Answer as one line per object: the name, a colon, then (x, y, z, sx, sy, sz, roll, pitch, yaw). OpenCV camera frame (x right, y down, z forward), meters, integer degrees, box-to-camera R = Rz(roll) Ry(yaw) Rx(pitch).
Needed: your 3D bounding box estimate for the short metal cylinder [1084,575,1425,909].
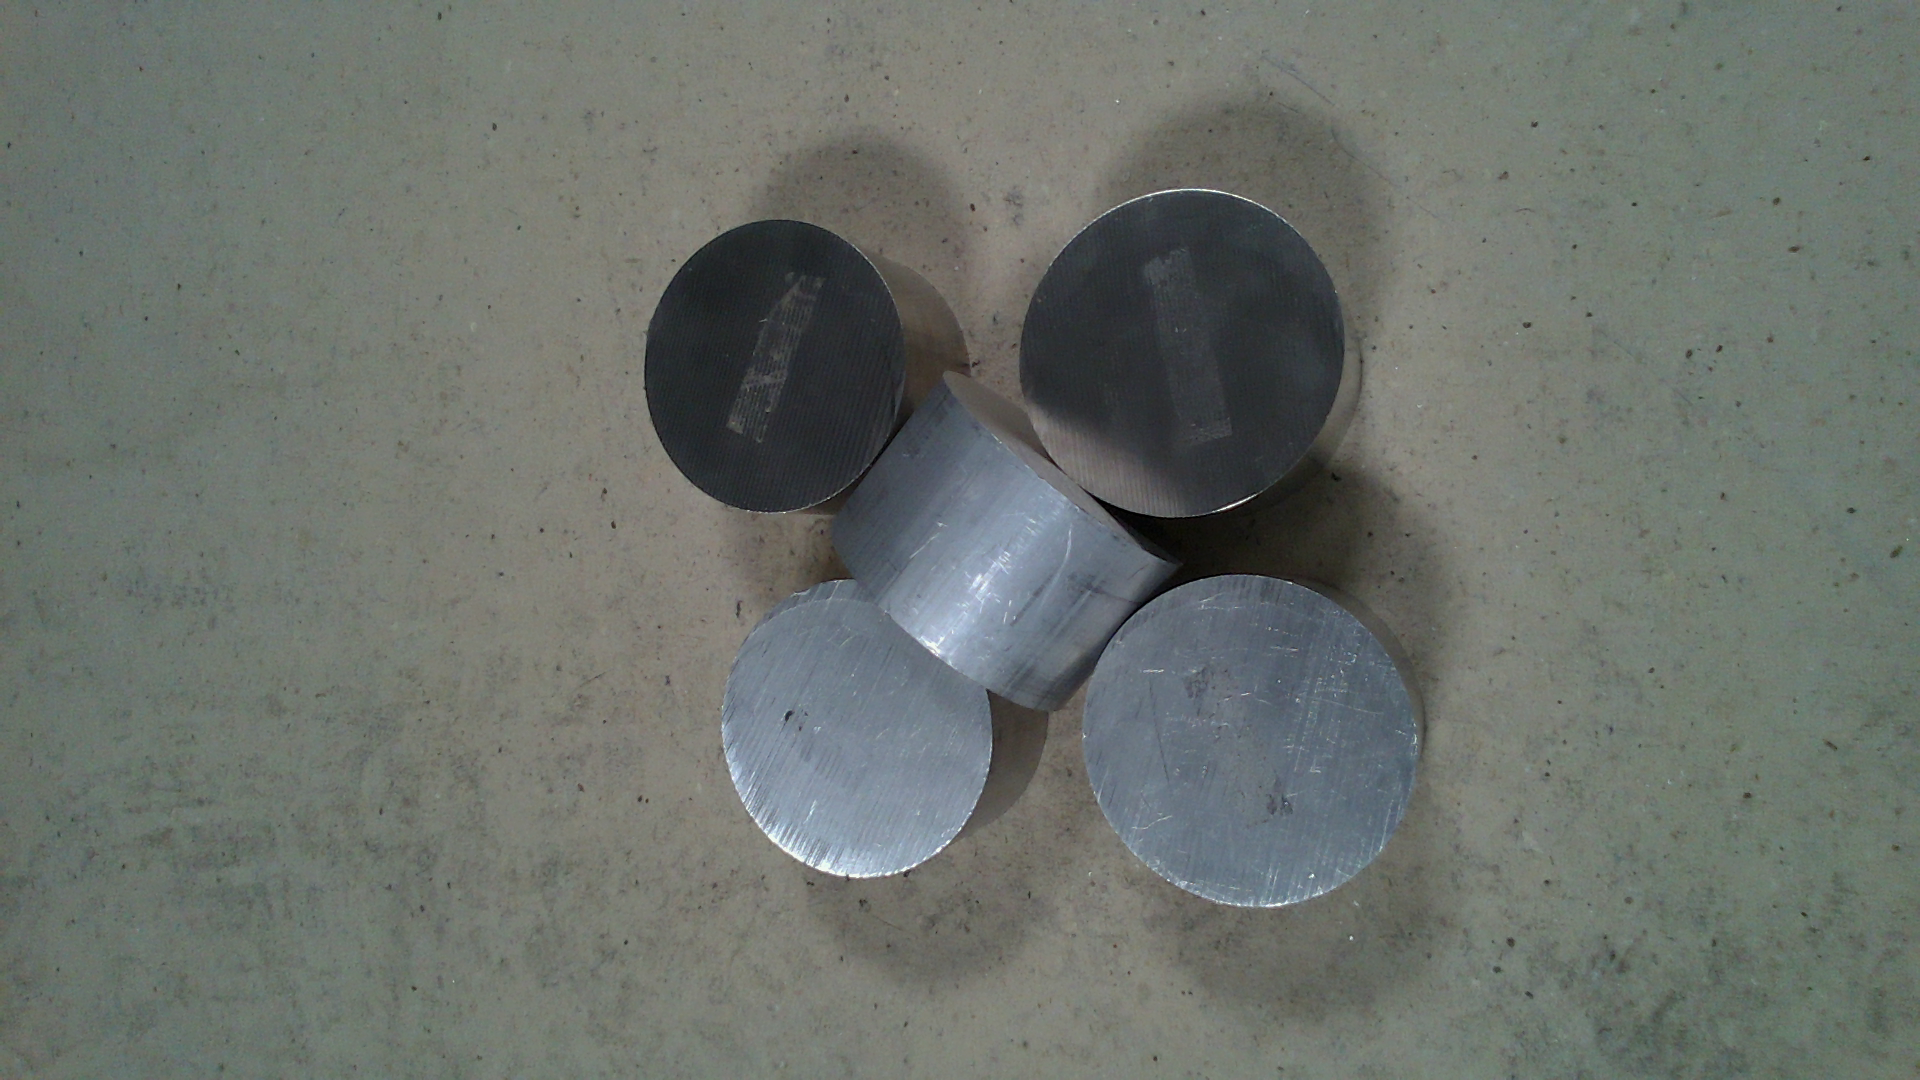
short metal cylinder: (0.077, 0.048, 0.354, 0.080, 0.050, 0.080, 0, 90, 20)

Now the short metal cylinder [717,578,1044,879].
short metal cylinder: (-0.021, 0.050, 0.389, 0.080, 0.050, 0.080, 0, 90, 20)

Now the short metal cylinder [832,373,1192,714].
short metal cylinder: (0.014, 0.000, 0.362, 0.080, 0.080, 0.050, 41, 103, 15)

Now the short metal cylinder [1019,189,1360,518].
short metal cylinder: (0.061, -0.046, 0.359, 0.080, 0.050, 0.080, 0, 90, 20)

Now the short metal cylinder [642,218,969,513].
short metal cylinder: (-0.043, -0.047, 0.397, 0.080, 0.050, 0.080, 0, 90, 20)
